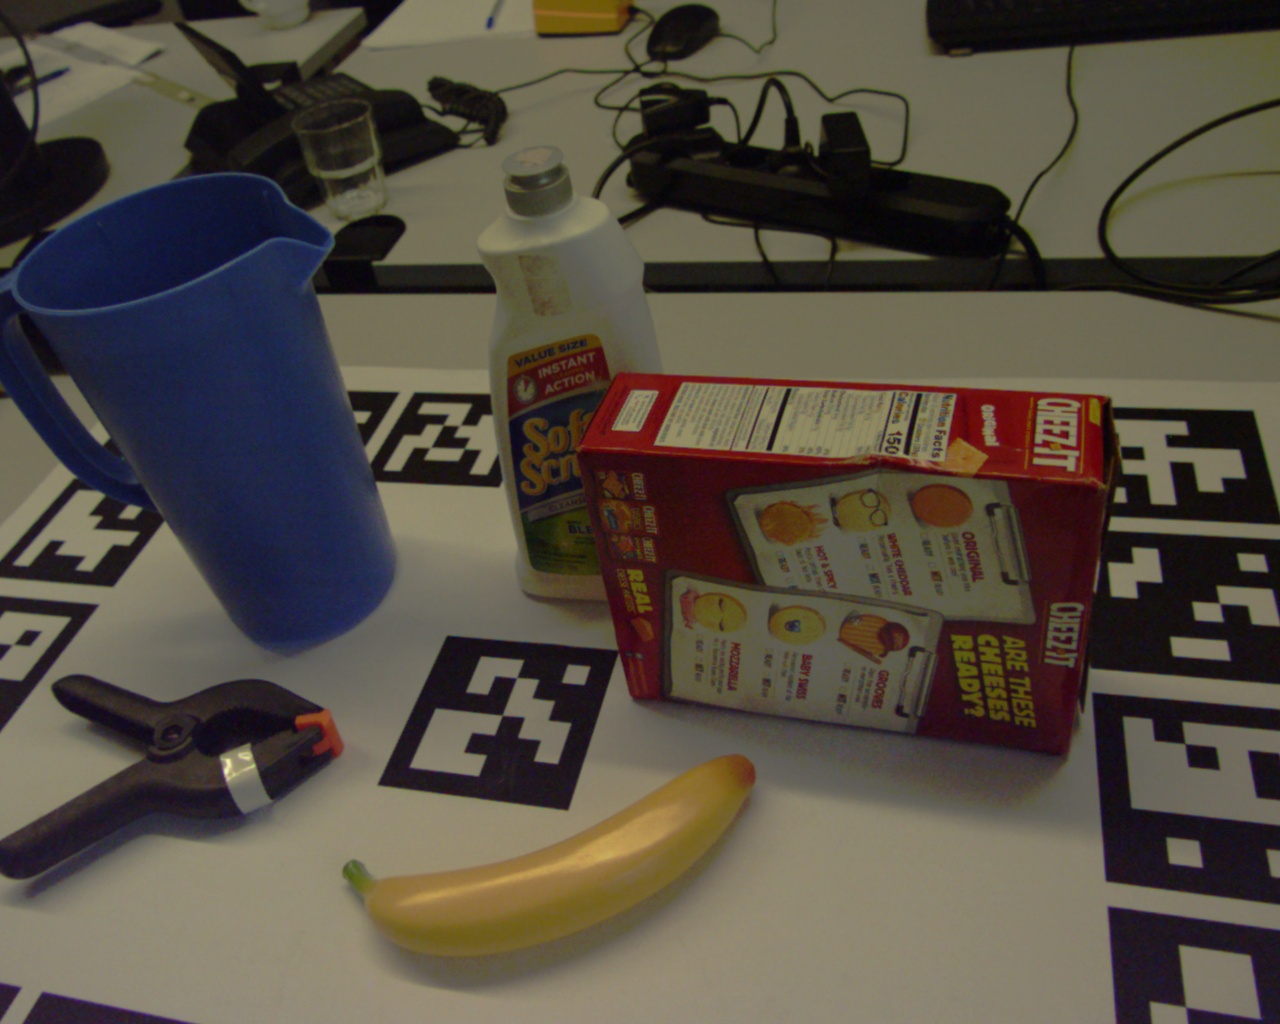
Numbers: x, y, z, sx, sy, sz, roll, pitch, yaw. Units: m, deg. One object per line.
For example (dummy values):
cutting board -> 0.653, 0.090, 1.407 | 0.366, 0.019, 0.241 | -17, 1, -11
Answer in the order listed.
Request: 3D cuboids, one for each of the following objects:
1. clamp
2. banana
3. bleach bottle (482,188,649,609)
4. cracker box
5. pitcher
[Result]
clamp -> -0.235, 0.131, 0.622 | 0.165, 0.036, 0.122 | -8, 38, 1
banana -> -0.024, 0.158, 0.551 | 0.196, 0.038, 0.075 | -21, 40, -11
bleach bottle -> -0.043, -0.056, 0.636 | 0.103, 0.249, 0.068 | 1, 40, 15
cracker box -> 0.096, 0.018, 0.558 | 0.215, 0.163, 0.072 | 2, 38, 17
pitcher -> -0.236, -0.050, 0.644 | 0.189, 0.241, 0.134 | -9, 38, -2
